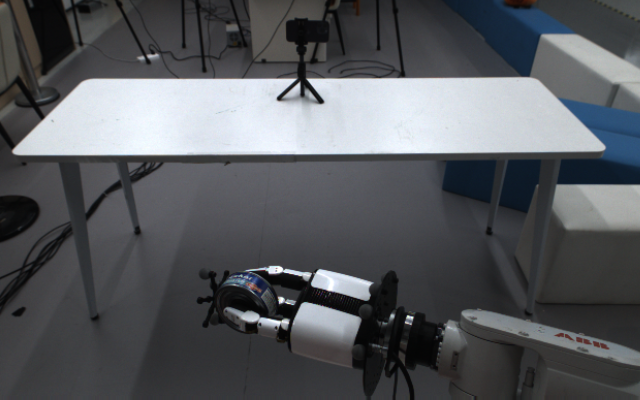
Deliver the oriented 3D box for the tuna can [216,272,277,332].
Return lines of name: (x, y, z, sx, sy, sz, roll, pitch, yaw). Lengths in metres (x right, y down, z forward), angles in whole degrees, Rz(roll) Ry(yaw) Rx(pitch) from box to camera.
tuna can: (-0.101, 0.142, 0.674, 0.085, 0.085, 0.034, 12, 28, 14)
